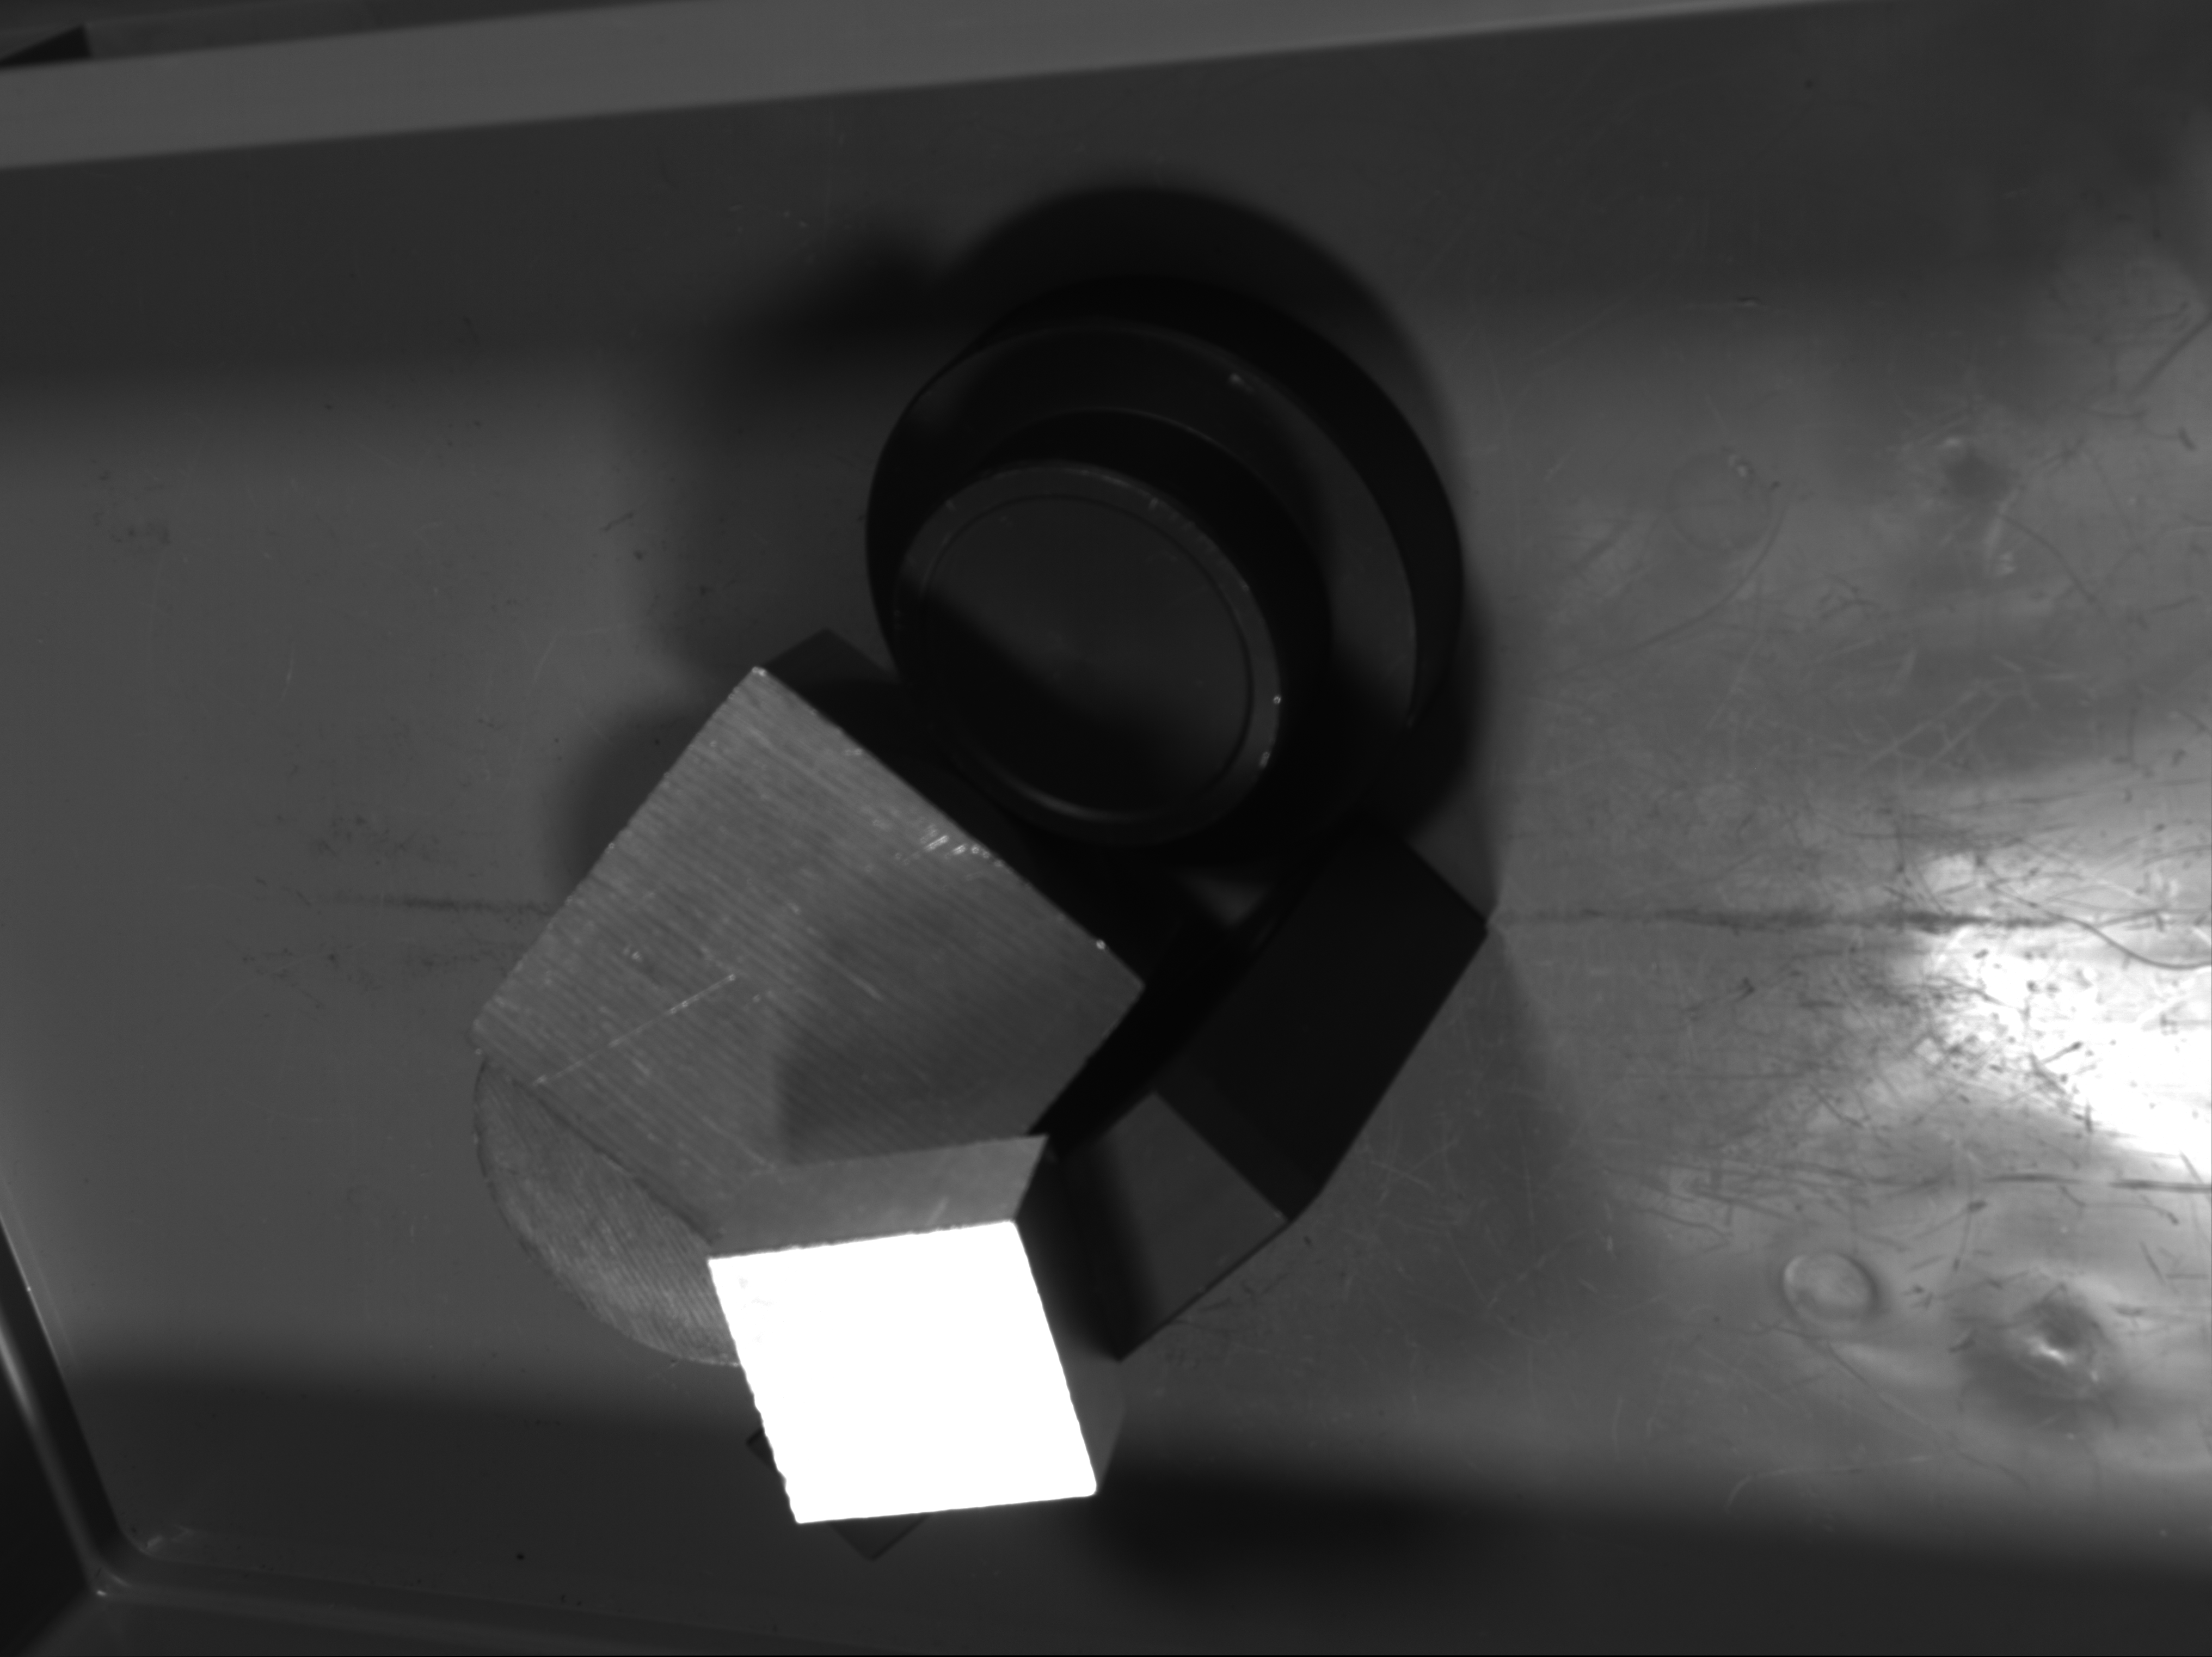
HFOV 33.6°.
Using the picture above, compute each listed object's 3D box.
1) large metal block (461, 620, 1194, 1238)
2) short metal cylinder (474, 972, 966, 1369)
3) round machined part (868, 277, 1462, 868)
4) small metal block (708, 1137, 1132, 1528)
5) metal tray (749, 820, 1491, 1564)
[{"bbox_3d":[-0.045,0.025,0.605,0.080,0.050,0.080,40,103,0],"label":"large metal block"},{"bbox_3d":[-0.069,0.053,0.680,0.080,0.050,0.080,12,123,20],"label":"short metal cylinder"},{"bbox_3d":[0.005,-0.036,0.594,0.098,0.042,0.098,12,123,20],"label":"round machined part"},{"bbox_3d":[-0.028,0.079,0.570,0.050,0.025,0.050,-9,114,16],"label":"small metal block"},{"bbox_3d":[0.002,0.062,0.624,0.030,0.090,0.130,44,128,-2],"label":"metal tray"}]
